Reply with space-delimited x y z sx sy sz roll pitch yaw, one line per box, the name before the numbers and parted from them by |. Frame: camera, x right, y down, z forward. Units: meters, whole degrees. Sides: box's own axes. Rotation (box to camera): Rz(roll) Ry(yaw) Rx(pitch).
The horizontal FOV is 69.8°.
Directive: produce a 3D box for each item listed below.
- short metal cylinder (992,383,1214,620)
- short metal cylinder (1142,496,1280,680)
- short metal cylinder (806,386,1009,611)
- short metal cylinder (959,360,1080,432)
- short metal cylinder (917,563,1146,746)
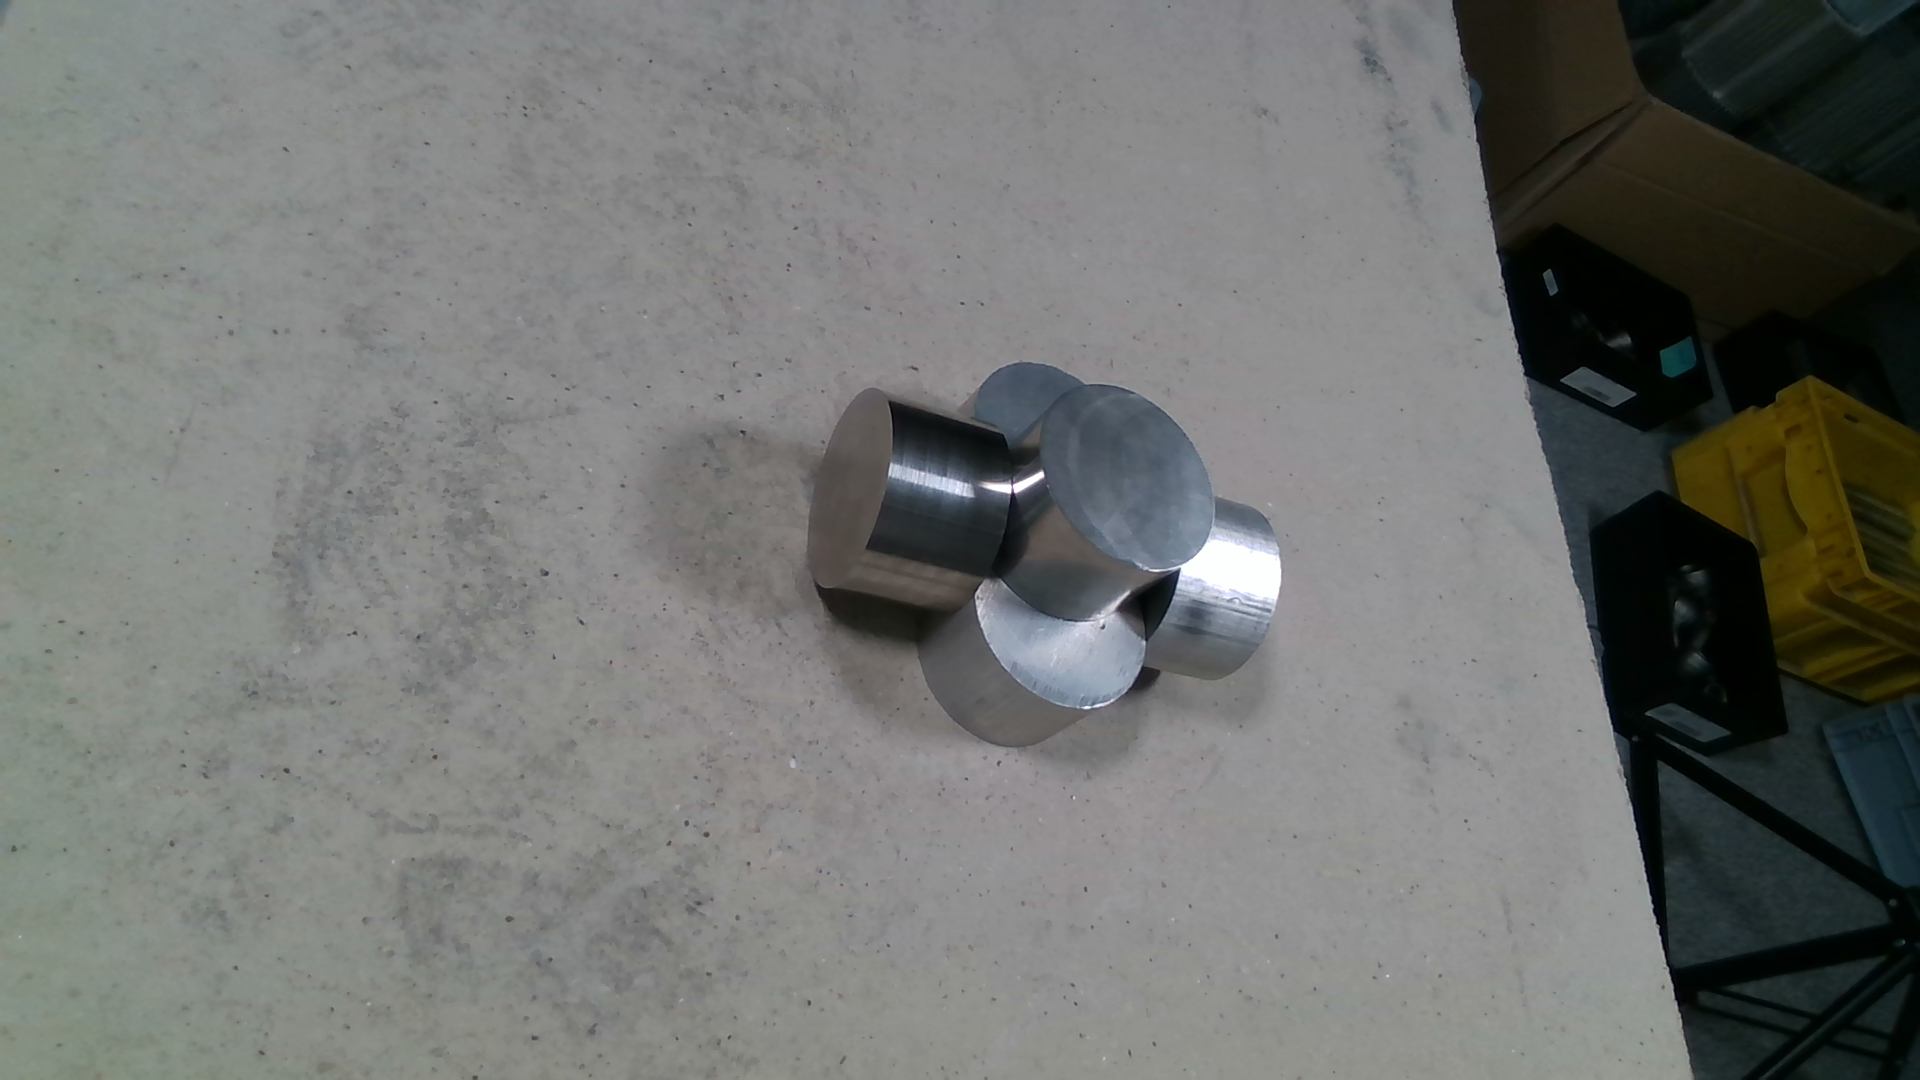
short metal cylinder | 0.053 -0.015 0.545 0.080 0.050 0.080 14 59 -25
short metal cylinder | 0.093 0.017 0.600 0.050 0.080 0.080 14 59 -25
short metal cylinder | -0.022 -0.015 0.546 0.050 0.080 0.080 14 58 -25
short metal cylinder | 0.029 -0.031 0.604 0.080 0.050 0.080 14 59 -25
short metal cylinder | 0.029 0.039 0.567 0.080 0.050 0.080 14 59 -25
